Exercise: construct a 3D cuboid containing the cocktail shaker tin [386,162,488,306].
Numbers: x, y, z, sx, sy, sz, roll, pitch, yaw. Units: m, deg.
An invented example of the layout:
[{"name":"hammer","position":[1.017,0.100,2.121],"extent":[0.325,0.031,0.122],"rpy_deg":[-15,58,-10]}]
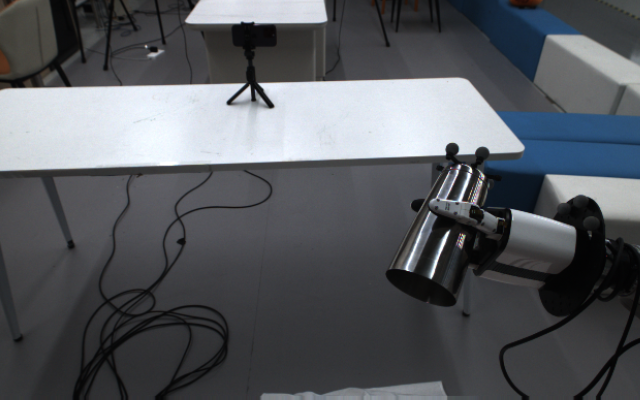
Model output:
[{"name":"cocktail shaker tin","position":[0.162,0.036,0.624],"extent":[0.093,0.093,0.170],"rpy_deg":[18,67,22]}]
